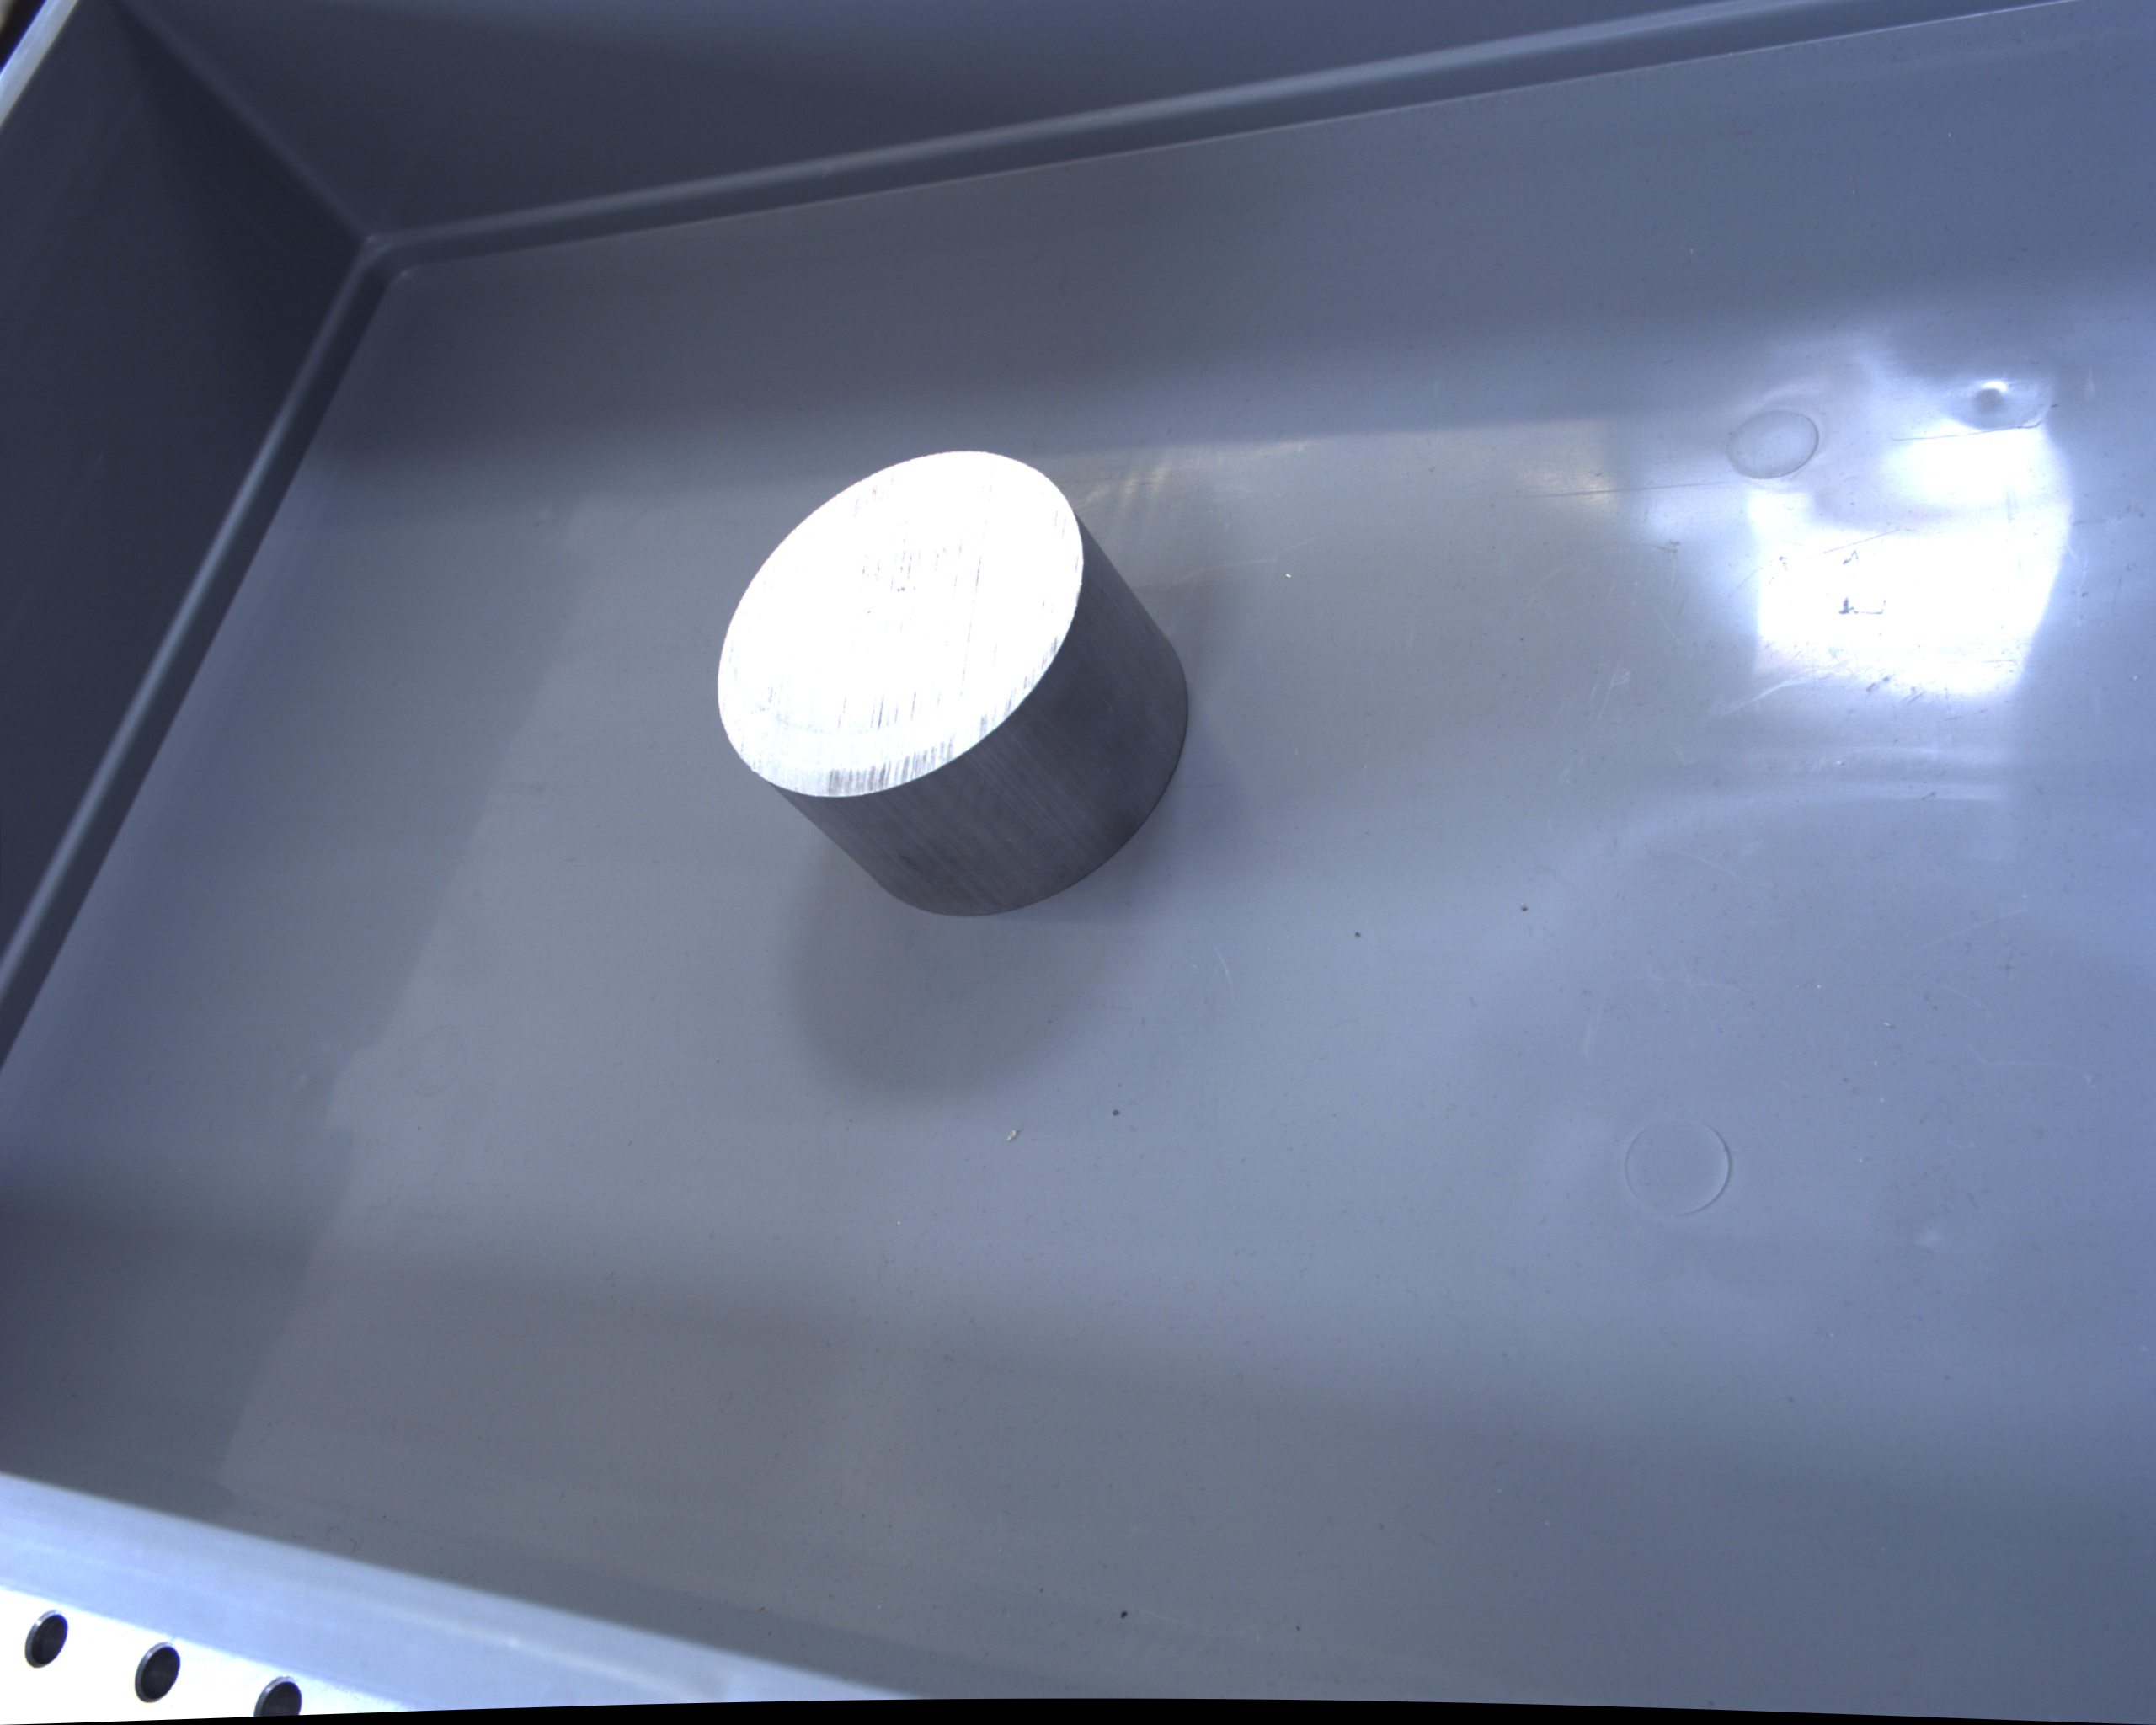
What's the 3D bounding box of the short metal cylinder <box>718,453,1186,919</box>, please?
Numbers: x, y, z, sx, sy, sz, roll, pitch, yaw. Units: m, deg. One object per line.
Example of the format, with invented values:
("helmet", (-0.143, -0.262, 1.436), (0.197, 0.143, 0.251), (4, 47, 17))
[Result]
("short metal cylinder", (-0.025, -0.035, 0.423), (0.080, 0.050, 0.080), (-13, 56, 21))
